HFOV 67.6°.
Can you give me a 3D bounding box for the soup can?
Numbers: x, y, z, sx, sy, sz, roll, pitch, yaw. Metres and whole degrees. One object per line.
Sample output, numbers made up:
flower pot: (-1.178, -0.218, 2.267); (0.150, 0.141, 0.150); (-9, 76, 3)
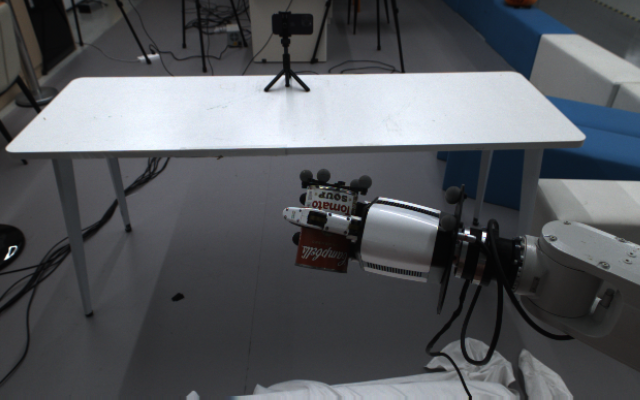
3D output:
soup can: (0.010, 0.038, 0.614); (0.067, 0.101, 0.067); (9, -6, 1)
